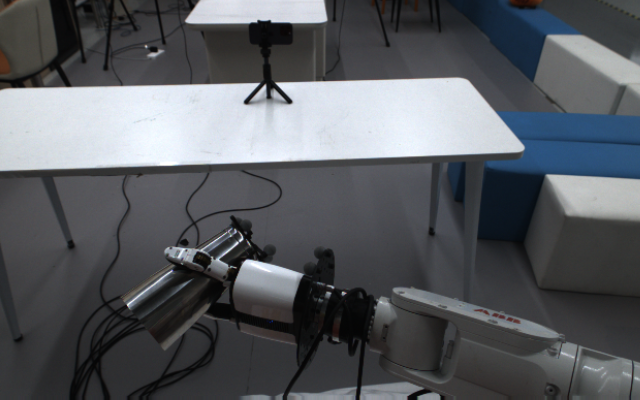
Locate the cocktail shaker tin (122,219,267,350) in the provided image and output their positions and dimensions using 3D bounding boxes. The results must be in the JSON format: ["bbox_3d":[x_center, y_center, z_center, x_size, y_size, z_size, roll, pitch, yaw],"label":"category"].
[{"bbox_3d":[-0.172,0.108,0.664,0.170,0.093,0.093,-38,49,-23],"label":"cocktail shaker tin"}]
